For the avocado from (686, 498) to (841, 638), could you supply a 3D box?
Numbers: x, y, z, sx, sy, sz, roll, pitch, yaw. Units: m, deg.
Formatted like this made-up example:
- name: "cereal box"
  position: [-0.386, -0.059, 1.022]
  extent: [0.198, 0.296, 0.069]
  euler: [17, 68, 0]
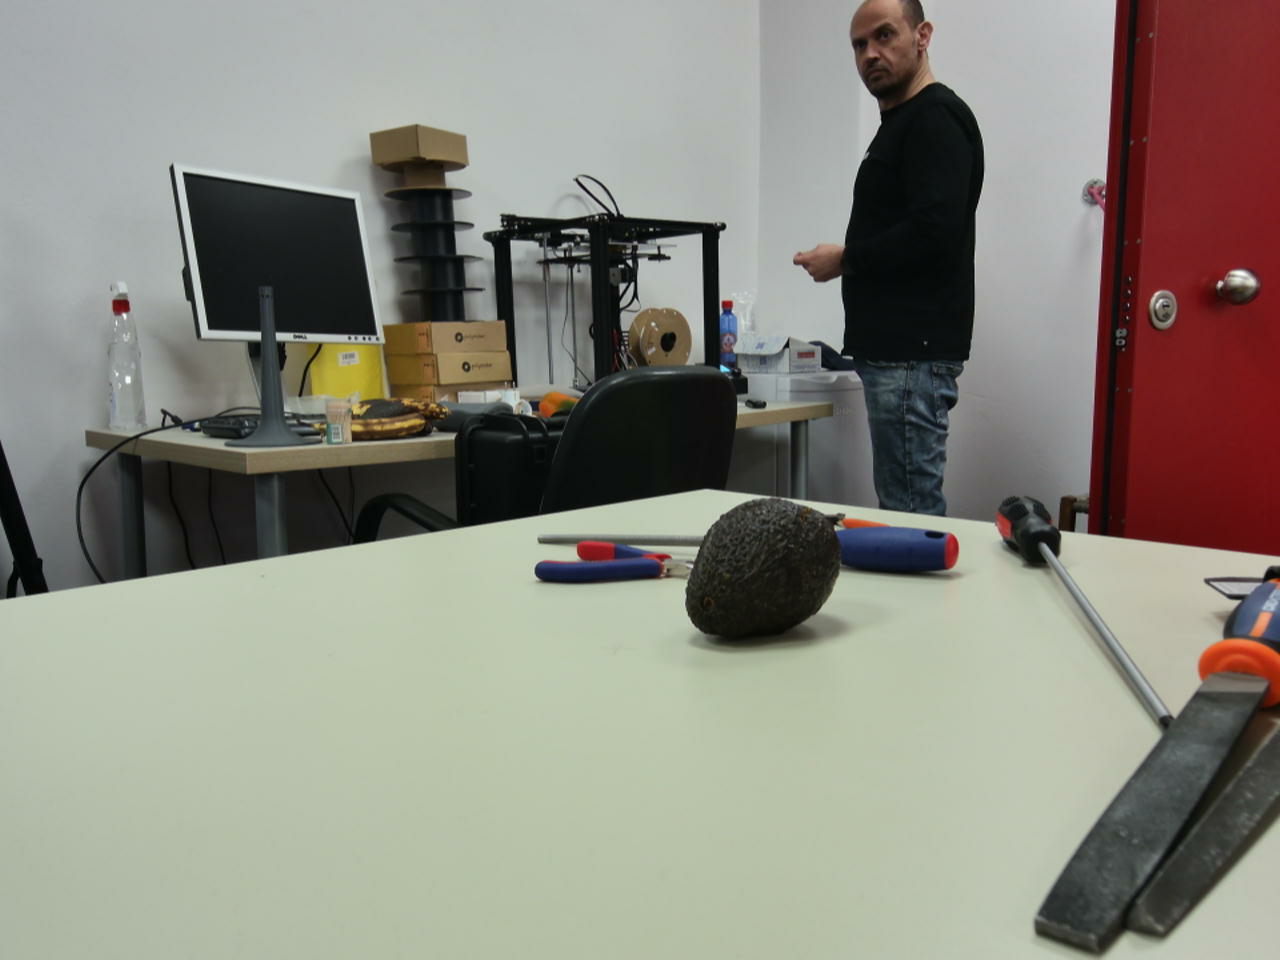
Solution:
- name: "avocado"
  position: [0.063, 0.044, 0.527]
  extent: [0.090, 0.069, 0.070]
  euler: [-1, 5, -17]
